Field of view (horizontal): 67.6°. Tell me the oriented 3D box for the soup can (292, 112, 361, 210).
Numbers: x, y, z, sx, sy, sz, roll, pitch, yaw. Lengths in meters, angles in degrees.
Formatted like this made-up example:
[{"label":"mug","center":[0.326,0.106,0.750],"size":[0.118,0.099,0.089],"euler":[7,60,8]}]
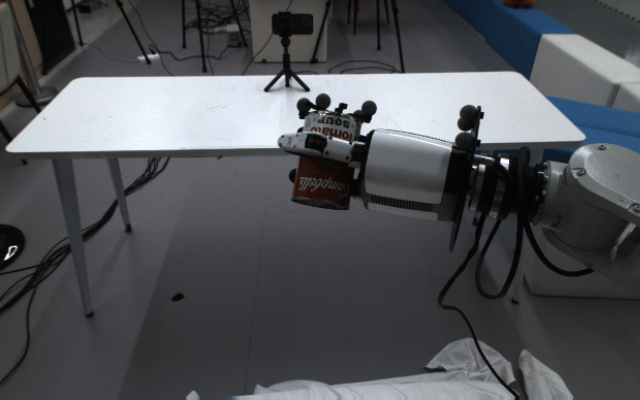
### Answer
[{"label":"soup can","center":[0.009,-0.043,0.555],"size":[0.067,0.101,0.067],"euler":[9,-6,1]}]
